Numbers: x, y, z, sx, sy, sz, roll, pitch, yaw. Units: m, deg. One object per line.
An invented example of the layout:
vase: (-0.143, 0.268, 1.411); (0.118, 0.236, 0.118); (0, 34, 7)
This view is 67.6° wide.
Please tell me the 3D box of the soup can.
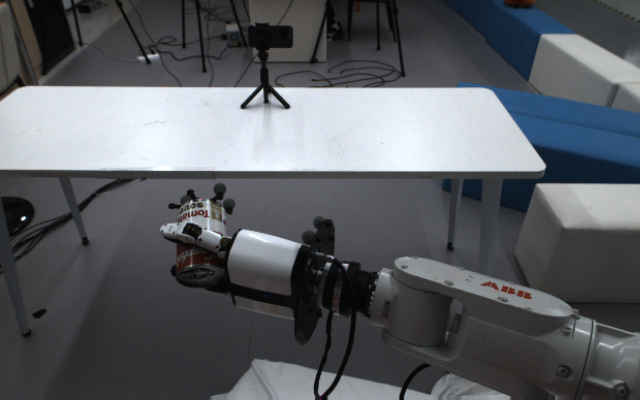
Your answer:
soup can: (-0.156, 0.059, 0.649); (0.067, 0.067, 0.101); (-5, 57, -10)
